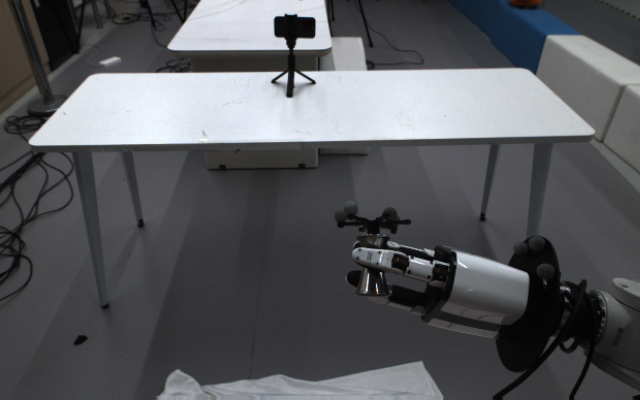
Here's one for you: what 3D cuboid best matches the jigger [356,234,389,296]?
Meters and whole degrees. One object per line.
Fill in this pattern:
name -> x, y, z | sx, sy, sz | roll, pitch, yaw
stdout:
jigger -> 0.061, 0.075, 0.566 | 0.043, 0.043, 0.071 | 3, 76, 1
